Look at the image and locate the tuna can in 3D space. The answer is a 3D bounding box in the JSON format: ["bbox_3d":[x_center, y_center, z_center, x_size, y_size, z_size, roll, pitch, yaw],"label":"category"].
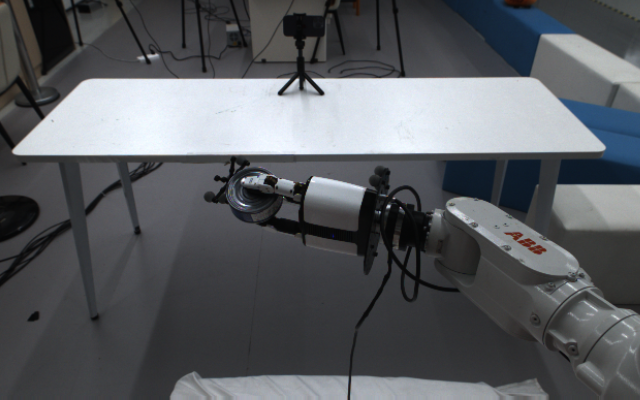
[{"bbox_3d":[-0.099,-0.005,0.747,0.085,0.034,0.085,-1,62,2],"label":"tuna can"}]
